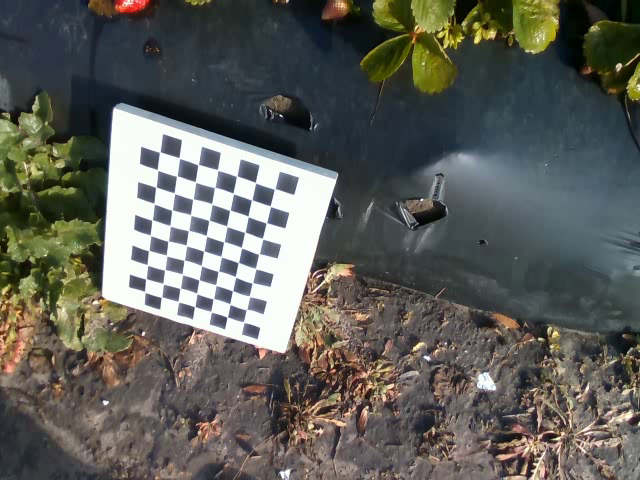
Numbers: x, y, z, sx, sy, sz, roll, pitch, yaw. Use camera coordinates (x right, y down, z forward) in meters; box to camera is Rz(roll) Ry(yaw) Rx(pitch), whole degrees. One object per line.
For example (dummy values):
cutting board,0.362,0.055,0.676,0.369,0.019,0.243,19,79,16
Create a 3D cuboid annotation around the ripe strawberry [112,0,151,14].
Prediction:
ripe strawberry,-0.195,-0.235,0.642,0.046,0.054,0.037,35,-17,-10
